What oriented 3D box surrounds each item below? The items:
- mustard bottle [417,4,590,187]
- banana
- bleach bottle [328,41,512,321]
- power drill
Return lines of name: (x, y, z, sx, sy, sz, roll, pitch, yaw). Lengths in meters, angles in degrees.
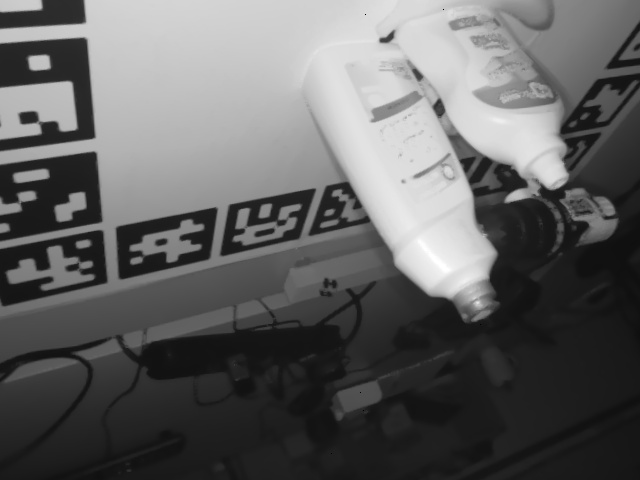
mustard bottle: (0.161, -0.118, 0.566, 0.097, 0.191, 0.057, -10, 146, -23)
banana: (0.154, -0.206, 0.596, 0.200, 0.039, 0.073, -10, 145, -29)
bleach bottle: (0.093, -0.052, 0.569, 0.104, 0.251, 0.067, -9, 151, -25)
power drill: (0.190, -0.067, 0.625, 0.187, 0.187, 0.056, -2, 143, -32)
